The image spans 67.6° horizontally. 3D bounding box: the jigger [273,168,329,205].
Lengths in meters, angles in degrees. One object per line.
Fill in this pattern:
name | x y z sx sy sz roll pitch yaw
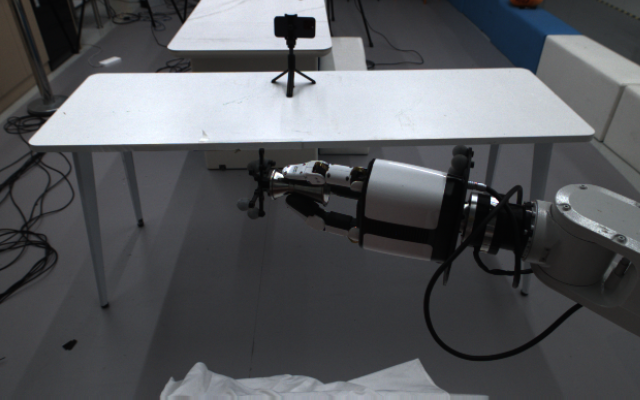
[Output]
jigger | -0.017 -0.021 0.599 0.071 0.043 0.043 5 35 12
